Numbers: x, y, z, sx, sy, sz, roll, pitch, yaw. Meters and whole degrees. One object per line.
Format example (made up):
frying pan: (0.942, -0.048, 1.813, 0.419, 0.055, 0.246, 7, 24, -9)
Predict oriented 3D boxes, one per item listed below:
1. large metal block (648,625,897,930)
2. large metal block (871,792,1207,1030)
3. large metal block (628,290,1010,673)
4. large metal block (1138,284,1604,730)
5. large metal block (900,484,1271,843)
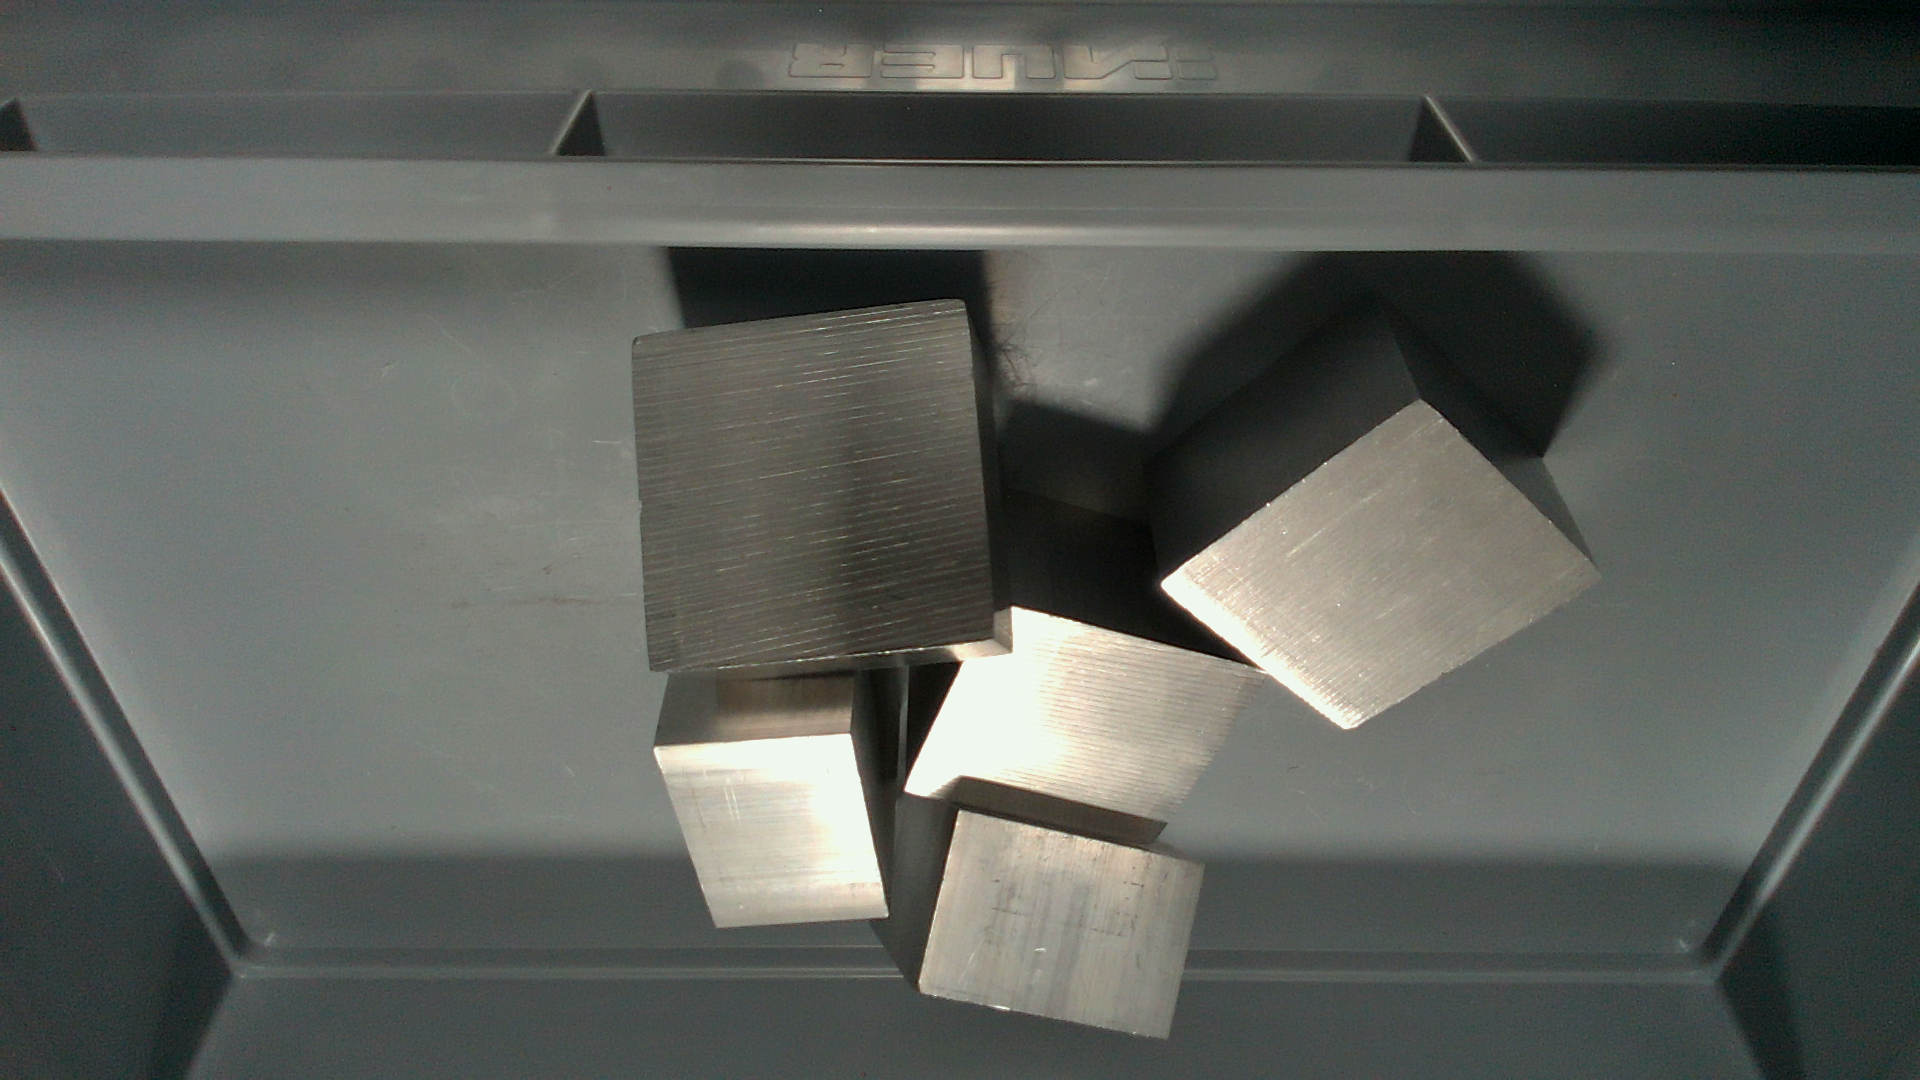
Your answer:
large metal block: (-0.049, 0.054, 0.399, 0.050, 0.080, 0.080, -4, 130, 4)
large metal block: (0.021, 0.112, 0.440, 0.080, 0.080, 0.050, 14, 86, -14)
large metal block: (-0.032, -0.011, 0.336, 0.080, 0.080, 0.050, -5, 172, 5)
large metal block: (0.107, -0.006, 0.368, 0.080, 0.050, 0.080, 36, 121, -27)
large metal block: (0.033, 0.038, 0.406, 0.080, 0.050, 0.080, 15, 129, -12)
